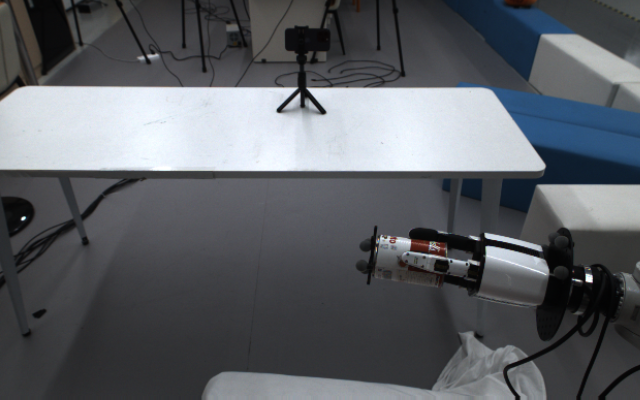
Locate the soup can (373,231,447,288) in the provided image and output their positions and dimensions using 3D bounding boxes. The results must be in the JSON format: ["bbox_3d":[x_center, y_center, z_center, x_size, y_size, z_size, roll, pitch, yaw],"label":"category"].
[{"bbox_3d":[0.135,0.088,0.717,0.101,0.067,0.067,6,35,11],"label":"soup can"}]
